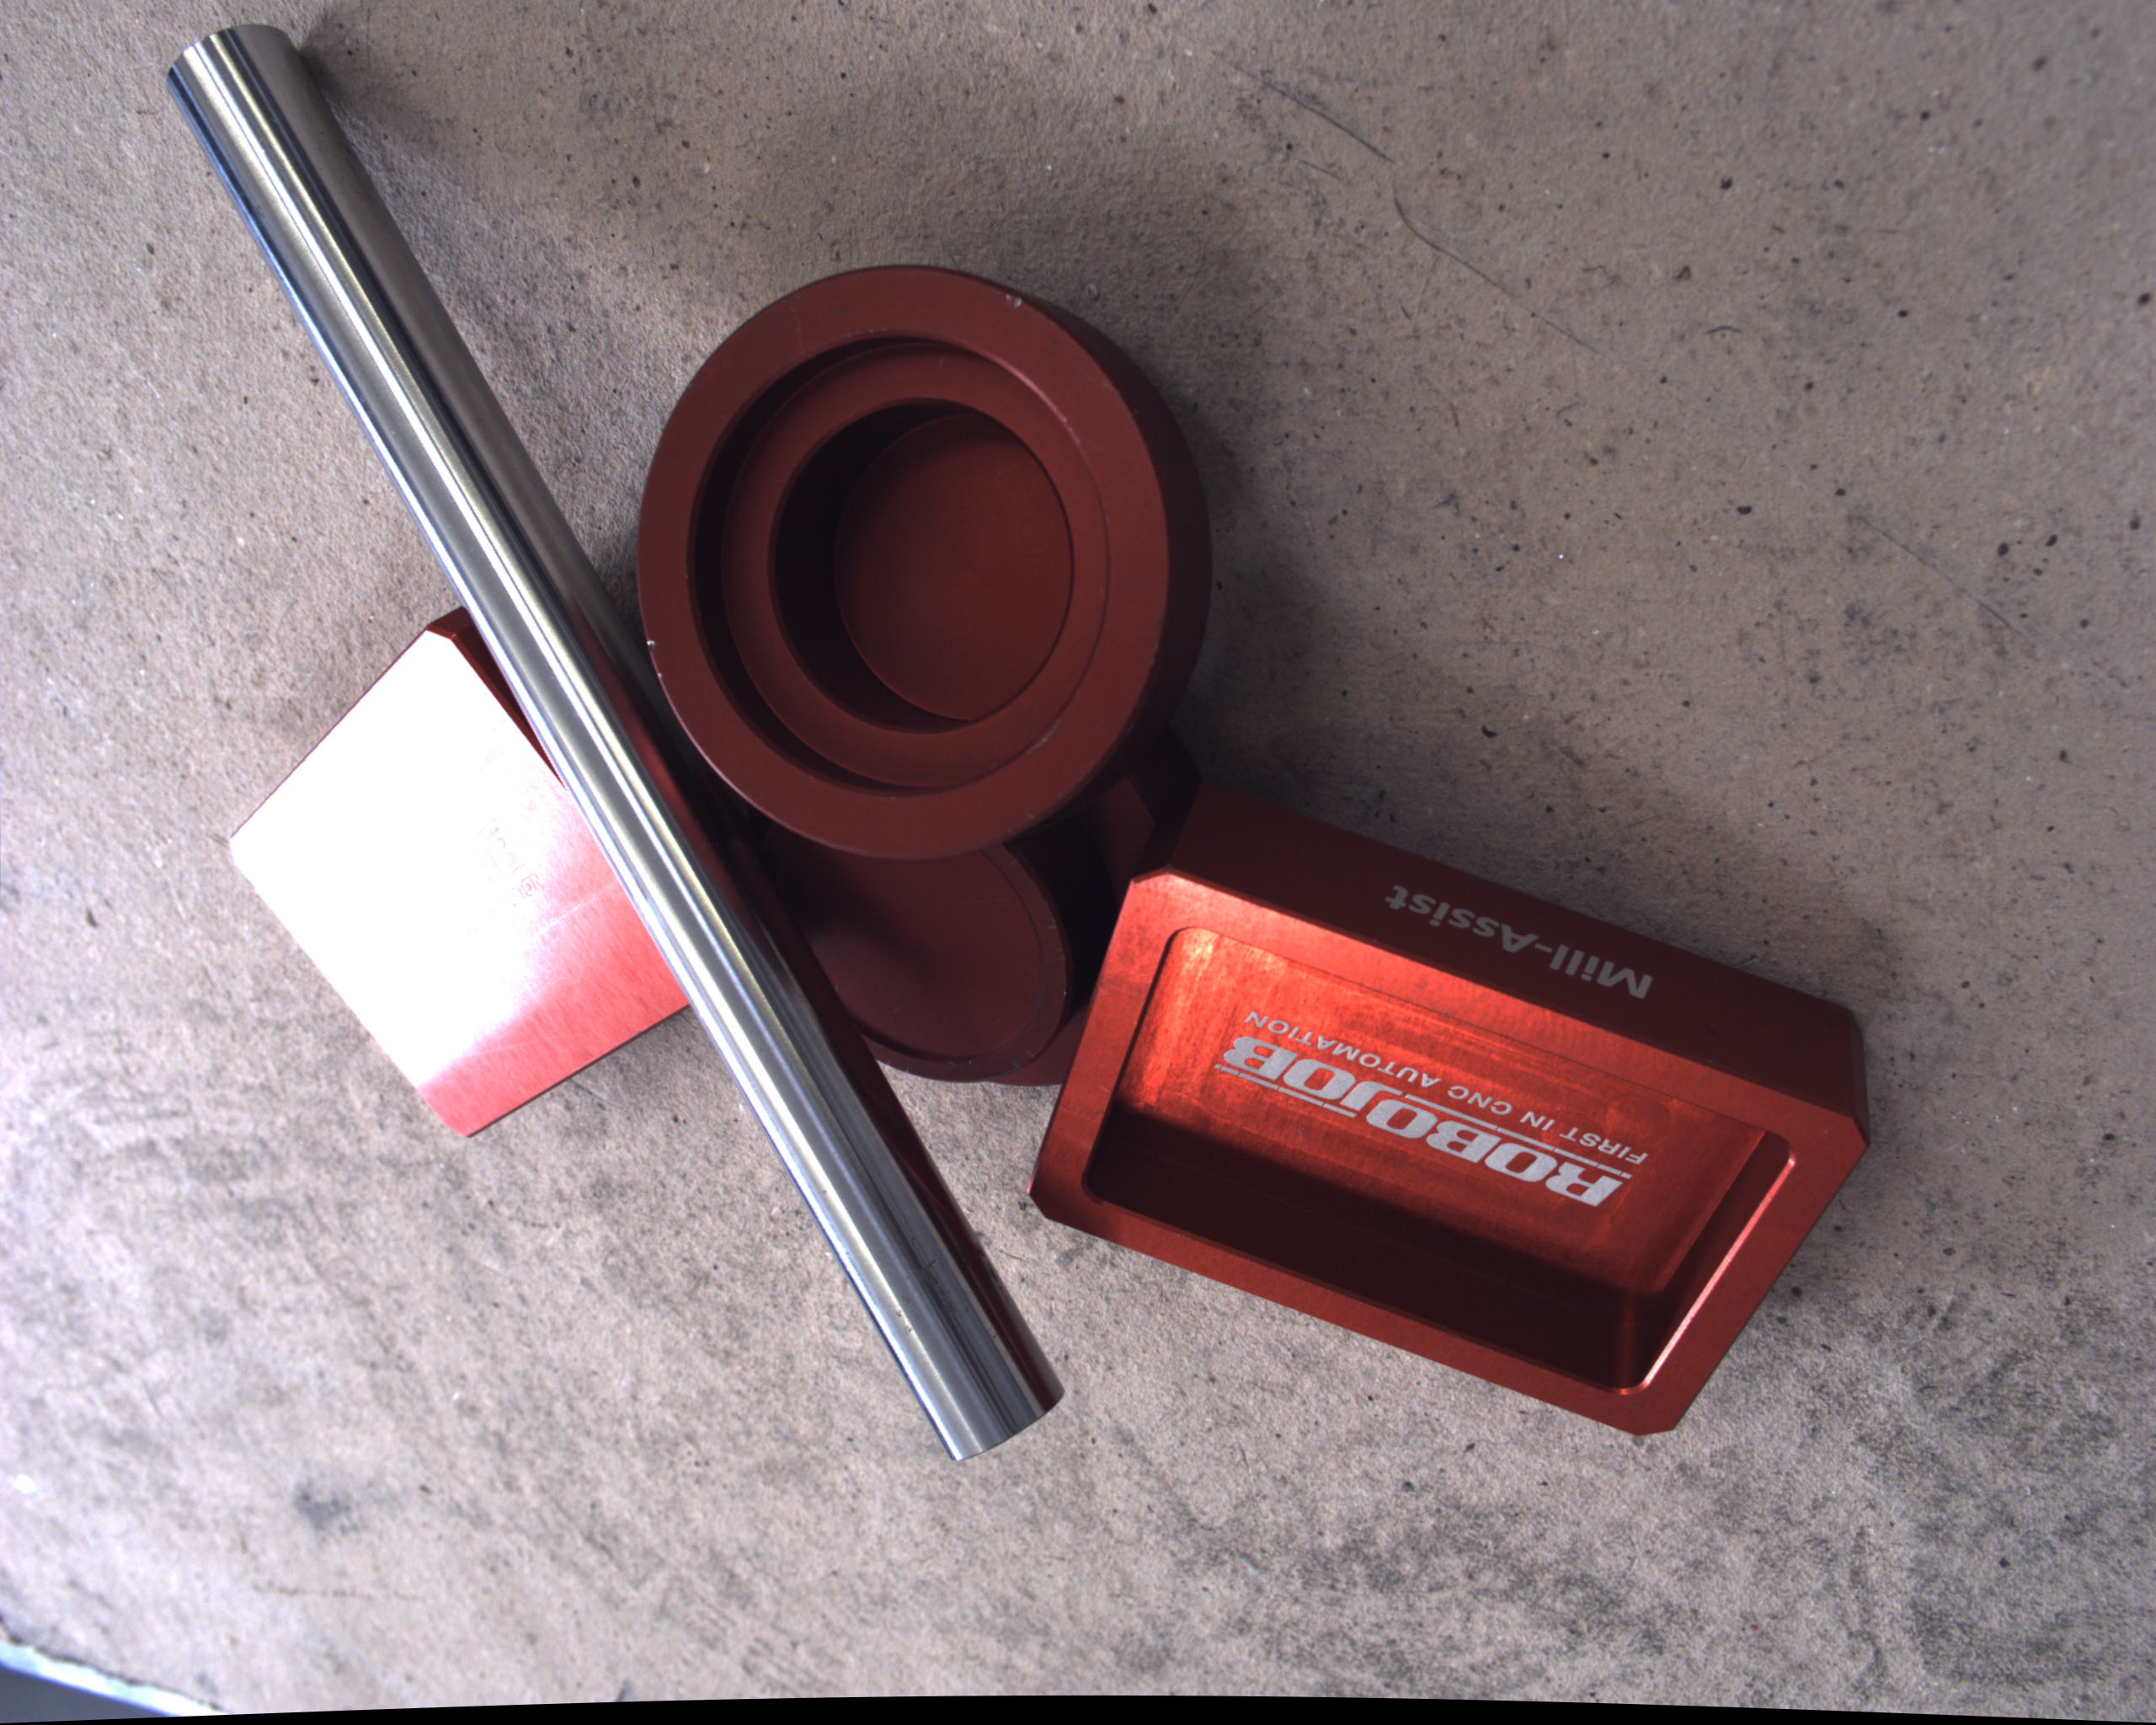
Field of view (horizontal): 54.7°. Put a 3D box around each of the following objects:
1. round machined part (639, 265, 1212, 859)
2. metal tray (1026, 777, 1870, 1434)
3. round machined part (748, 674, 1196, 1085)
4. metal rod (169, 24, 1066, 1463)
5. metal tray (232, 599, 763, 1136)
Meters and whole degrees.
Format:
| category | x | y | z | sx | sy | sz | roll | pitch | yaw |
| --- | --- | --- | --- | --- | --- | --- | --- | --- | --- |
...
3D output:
| category | x | y | z | sx | sy | sz | roll | pitch | yaw |
| --- | --- | --- | --- | --- | --- | --- | --- | --- | --- |
| round machined part | -0.023 | -0.051 | 0.364 | 0.098 | 0.042 | 0.097 | 3 | 98 | 21 |
| metal tray | 0.064 | 0.047 | 0.386 | 0.131 | 0.030 | 0.089 | 20 | 127 | 3 |
| round machined part | -0.024 | 0.004 | 0.413 | 0.098 | 0.042 | 0.097 | 13 | 124 | 21 |
| metal rod | -0.088 | -0.023 | 0.397 | 0.025 | 0.025 | 0.299 | -31 | 89 | 38 |
| metal tray | -0.127 | 0.003 | 0.460 | 0.130 | 0.030 | 0.090 | -29 | 100 | 46 |
